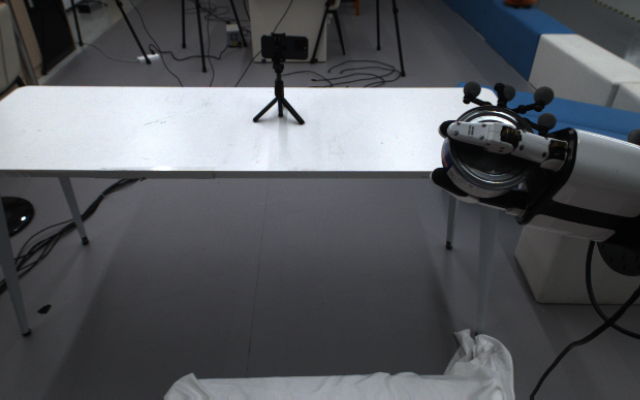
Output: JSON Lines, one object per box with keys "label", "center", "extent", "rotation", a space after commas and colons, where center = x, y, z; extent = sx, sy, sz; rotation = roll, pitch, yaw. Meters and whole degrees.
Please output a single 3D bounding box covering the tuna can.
{"label": "tuna can", "center": [0.166, -0.051, 0.475], "extent": [0.085, 0.034, 0.085], "rotation": [0, 71, 0]}
